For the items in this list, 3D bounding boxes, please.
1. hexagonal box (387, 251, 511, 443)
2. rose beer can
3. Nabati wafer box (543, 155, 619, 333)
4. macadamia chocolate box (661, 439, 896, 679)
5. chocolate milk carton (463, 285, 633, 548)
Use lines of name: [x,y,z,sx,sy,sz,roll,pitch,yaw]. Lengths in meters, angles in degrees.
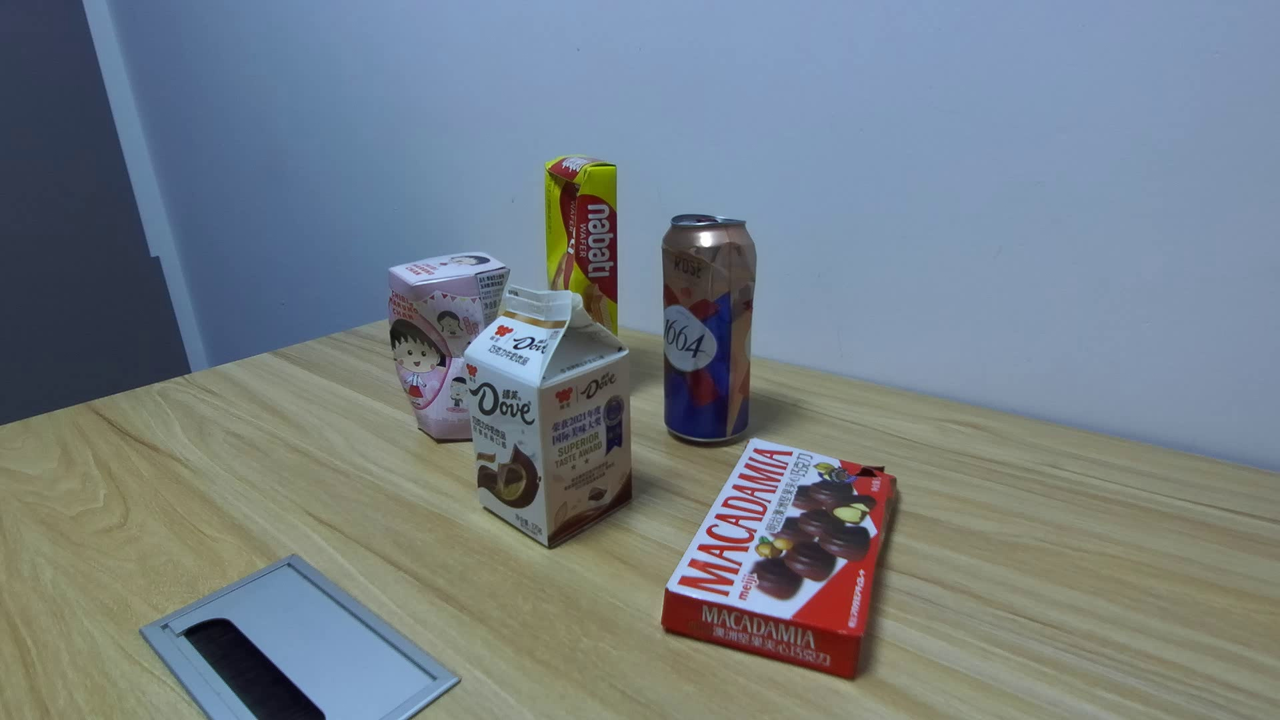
hexagonal box: [-0.147,-0.012,0.570,0.088,0.134,0.093,4,22,15]
rose beer can: [0.052,-0.022,0.528,0.065,0.167,0.075,-5,19,-15]
Nabati wafer box: [-0.051,-0.070,0.618,0.042,0.203,0.096,-6,22,-17]
macadamia chocolate box: [0.090,0.097,0.405,0.102,0.027,0.187,8,23,20]
chocolate milk carton: [-0.055,0.026,0.436,0.075,0.148,0.074,18,29,41]
